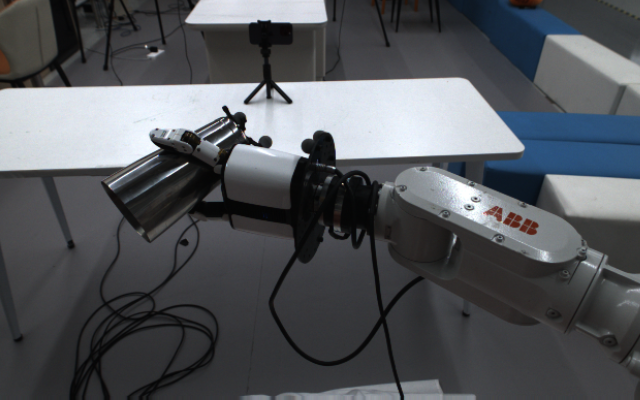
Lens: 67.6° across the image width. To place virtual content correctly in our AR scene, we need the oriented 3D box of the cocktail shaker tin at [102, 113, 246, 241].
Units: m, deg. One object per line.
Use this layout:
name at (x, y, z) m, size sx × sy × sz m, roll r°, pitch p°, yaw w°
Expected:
cocktail shaker tin at (-0.172, -0.038, 0.611) m, size 0.170 × 0.093 × 0.093 m, roll -38°, pitch 49°, yaw -24°
